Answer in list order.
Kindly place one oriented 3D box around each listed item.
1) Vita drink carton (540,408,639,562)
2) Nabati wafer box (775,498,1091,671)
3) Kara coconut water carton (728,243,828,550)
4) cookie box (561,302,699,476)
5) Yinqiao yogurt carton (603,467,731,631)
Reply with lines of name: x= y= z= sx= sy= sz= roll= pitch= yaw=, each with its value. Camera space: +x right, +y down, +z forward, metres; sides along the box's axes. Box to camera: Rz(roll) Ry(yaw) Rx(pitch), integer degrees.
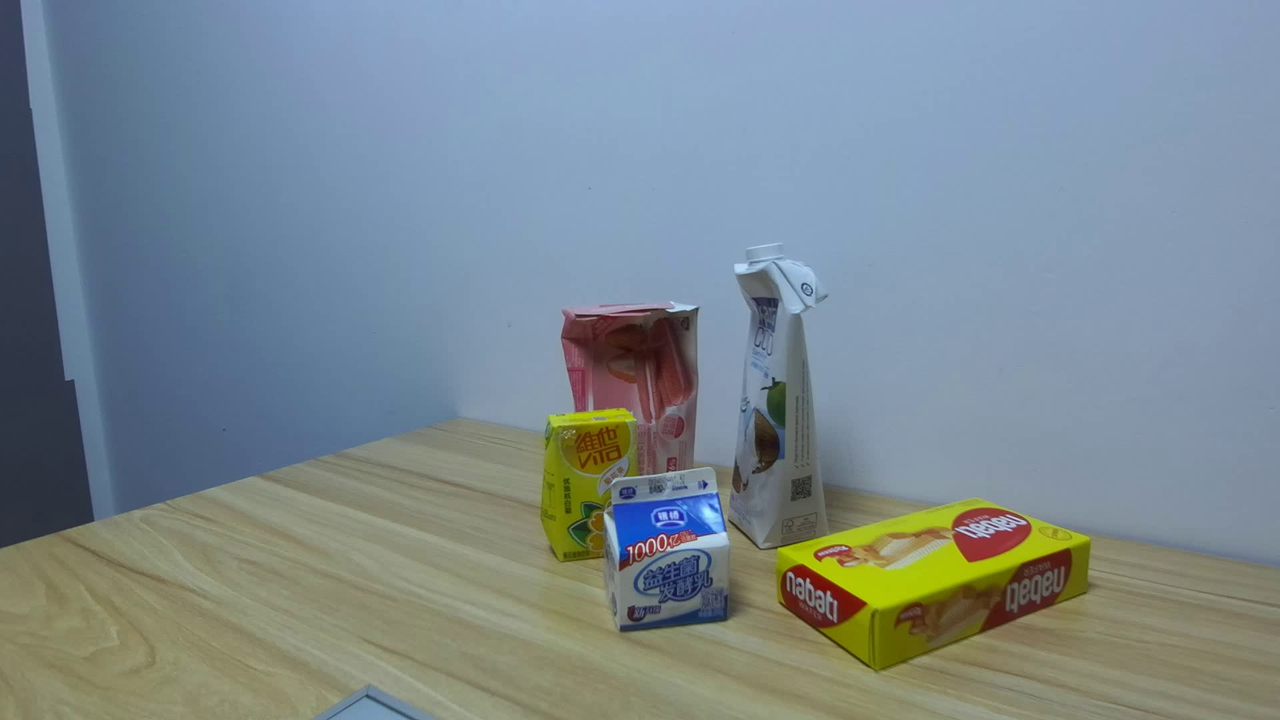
Vita drink carton: x=-0.040 y=0.096 z=0.552 sx=0.076 sy=0.109 sz=0.043 roll=-3 pitch=11 yaw=-13
Nabati wafer box: x=0.201 y=0.143 z=0.481 sx=0.204 sy=0.042 sz=0.092 roll=-5 pitch=10 yaw=-27
Kara coconut water carton: x=0.111 y=0.026 z=0.572 sx=0.069 sy=0.238 sz=0.115 roll=-5 pitch=11 yaw=-15
cookie box: x=-0.008 y=0.042 z=0.642 sx=0.119 sy=0.184 sz=0.055 roll=-4 pitch=11 yaw=-12
Yinqiao yogurt carton: x=0.015 y=0.118 z=0.472 sx=0.076 sy=0.092 sz=0.073 roll=-4 pitch=12 yaw=-9
